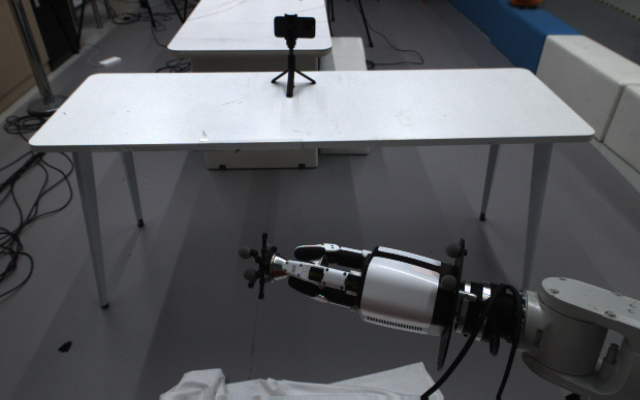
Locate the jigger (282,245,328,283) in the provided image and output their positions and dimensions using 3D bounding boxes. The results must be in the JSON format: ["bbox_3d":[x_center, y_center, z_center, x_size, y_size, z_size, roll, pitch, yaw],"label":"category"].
[{"bbox_3d":[-0.019,0.086,0.634,0.071,0.043,0.043,2,34,16],"label":"jigger"}]
